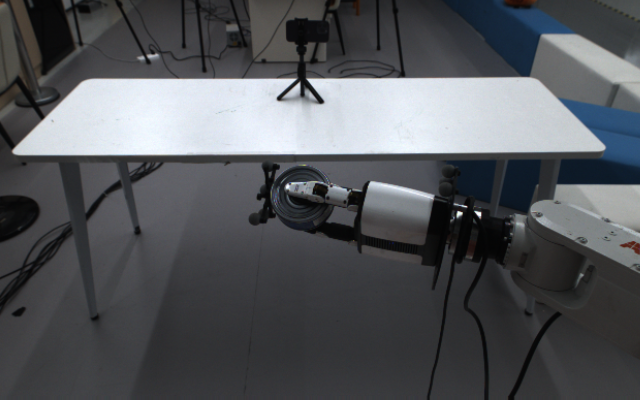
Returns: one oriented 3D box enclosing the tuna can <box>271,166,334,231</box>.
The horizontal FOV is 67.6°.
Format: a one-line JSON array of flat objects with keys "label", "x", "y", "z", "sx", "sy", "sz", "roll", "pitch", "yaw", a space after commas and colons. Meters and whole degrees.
[{"label": "tuna can", "x": -0.022, "y": -0.005, "z": 0.658, "sx": 0.085, "sy": 0.034, "sz": 0.085, "roll": -2, "pitch": 69, "yaw": 6}]
